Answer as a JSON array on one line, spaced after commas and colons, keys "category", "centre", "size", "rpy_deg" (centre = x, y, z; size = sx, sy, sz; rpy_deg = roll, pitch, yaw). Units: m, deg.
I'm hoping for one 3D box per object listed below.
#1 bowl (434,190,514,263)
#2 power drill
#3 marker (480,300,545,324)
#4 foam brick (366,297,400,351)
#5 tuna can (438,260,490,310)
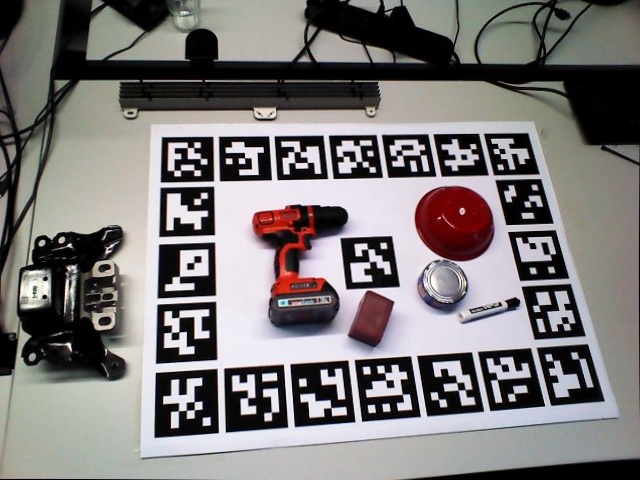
[{"category": "bowl", "centre": [0.297, -0.040, 0.984], "size": [0.162, 0.055, 0.161], "rpy_deg": [1, 61, -1]}, {"category": "power drill", "centre": [-0.004, 0.043, 0.915], "size": [0.184, 0.057, 0.186], "rpy_deg": [-2, 66, -10]}, {"category": "marker", "centre": [0.347, 0.129, 0.927], "size": [0.121, 0.020, 0.019], "rpy_deg": [-12, 71, -10]}, {"category": "foam brick", "centre": [0.120, 0.144, 0.891], "size": [0.051, 0.053, 0.077], "rpy_deg": [20, 69, 1]}, {"category": "tuna can", "centre": [0.258, 0.082, 0.931], "size": [0.086, 0.034, 0.085], "rpy_deg": [3, 68, -7]}]
